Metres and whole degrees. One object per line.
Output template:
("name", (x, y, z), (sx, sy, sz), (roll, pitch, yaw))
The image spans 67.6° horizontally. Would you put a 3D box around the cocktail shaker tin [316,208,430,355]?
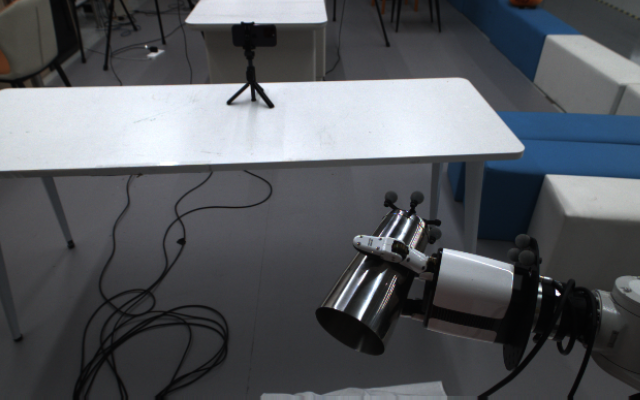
("cocktail shaker tin", (0.077, 0.089, 0.602), (0.093, 0.093, 0.170), (19, 54, 23))
